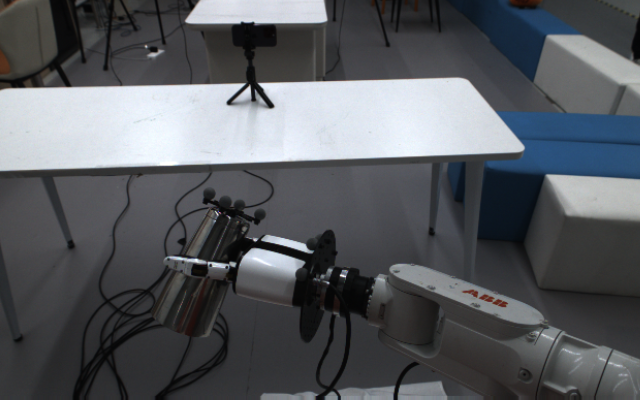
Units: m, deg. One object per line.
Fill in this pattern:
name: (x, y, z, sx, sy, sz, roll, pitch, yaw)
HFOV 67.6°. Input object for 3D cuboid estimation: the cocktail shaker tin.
cocktail shaker tin: (-0.165, 0.099, 0.703, 0.093, 0.170, 0.093, 23, 0, 0)
